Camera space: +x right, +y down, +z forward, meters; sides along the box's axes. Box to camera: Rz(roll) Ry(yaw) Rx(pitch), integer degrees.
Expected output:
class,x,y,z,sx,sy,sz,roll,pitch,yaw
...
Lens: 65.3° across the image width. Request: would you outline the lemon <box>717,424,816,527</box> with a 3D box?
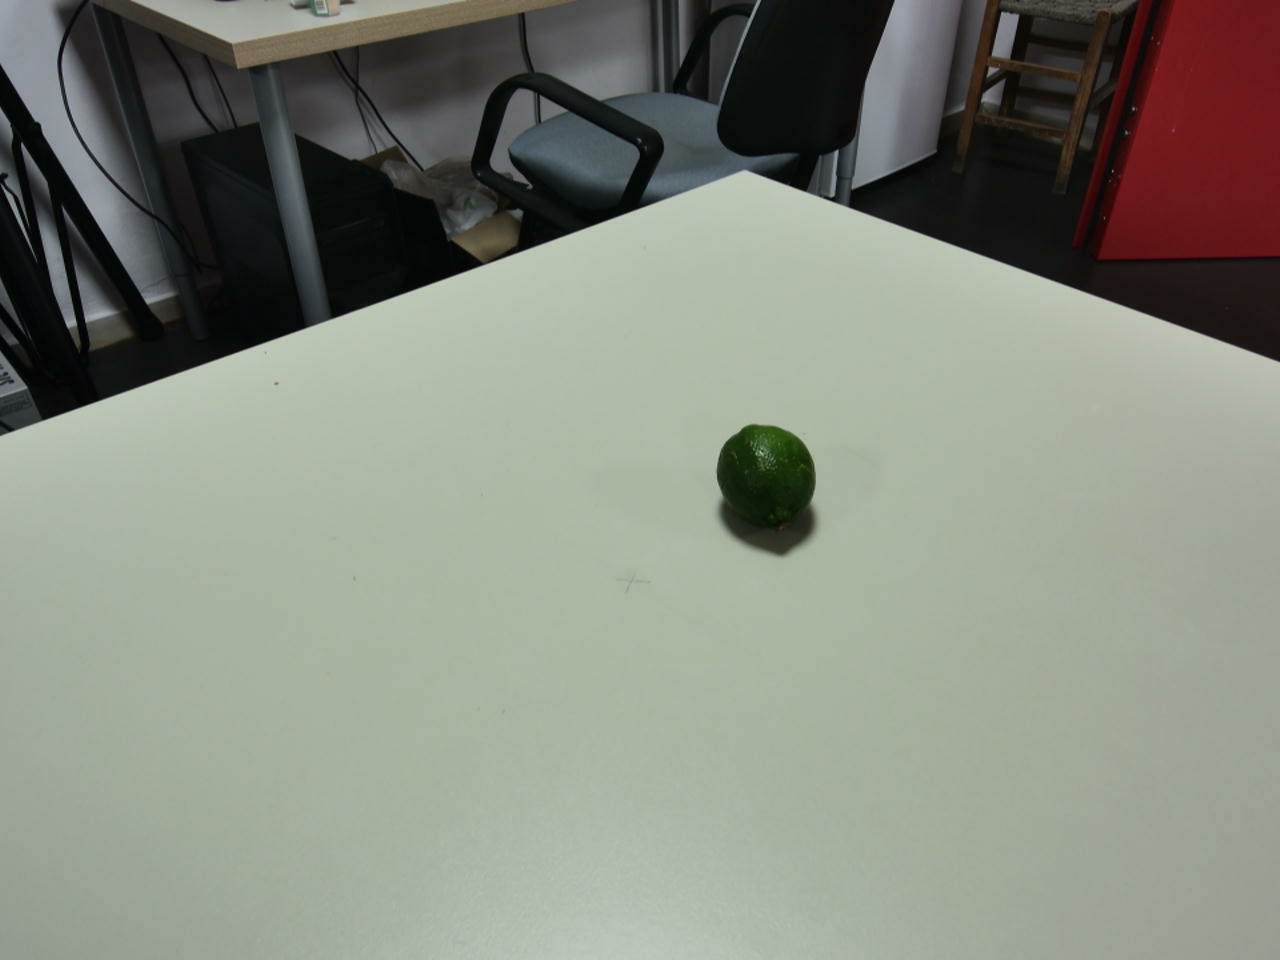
class,x,y,z,sx,sy,sz,roll,pitch,yaw
lemon,0.069,-0.003,0.545,0.054,0.051,0.057,-29,46,-34
